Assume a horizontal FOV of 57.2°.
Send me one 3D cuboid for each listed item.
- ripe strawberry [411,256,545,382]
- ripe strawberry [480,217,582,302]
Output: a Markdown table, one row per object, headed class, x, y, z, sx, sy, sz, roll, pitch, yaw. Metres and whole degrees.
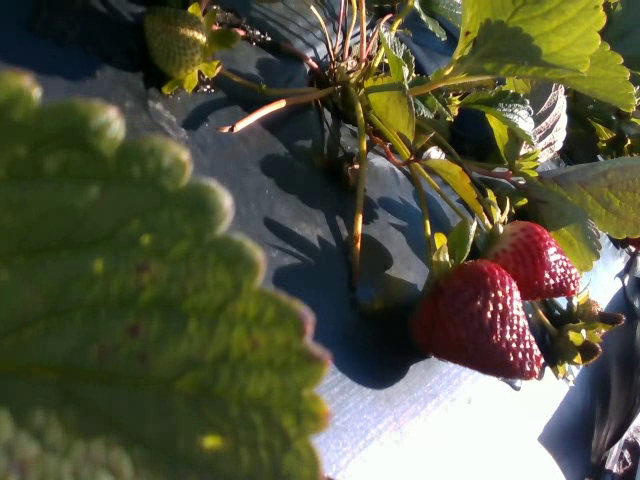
| class | x | y | z | sx | sy | sz | roll | pitch | yaw |
| --- | --- | --- | --- | --- | --- | --- | --- | --- | --- |
| ripe strawberry | 0.060 | 0.032 | 0.208 | 0.050 | 0.044 | 0.051 | 41 | 16 | 27 |
| ripe strawberry | 0.099 | 0.012 | 0.267 | 0.049 | 0.042 | 0.039 | 29 | -20 | 8 |
